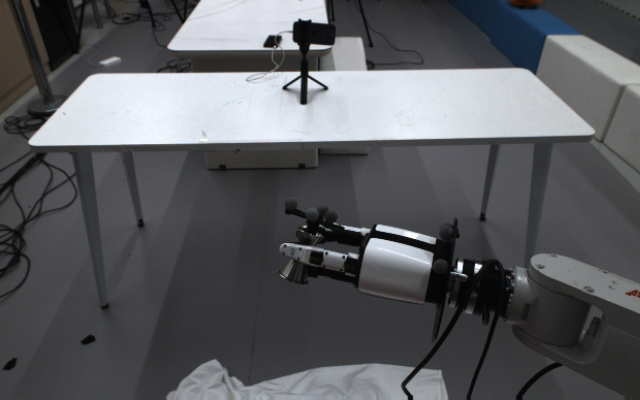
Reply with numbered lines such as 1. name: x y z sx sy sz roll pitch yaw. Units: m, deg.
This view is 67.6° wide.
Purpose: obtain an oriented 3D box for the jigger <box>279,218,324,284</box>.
1. jigger: -0.025 0.073 0.648 0.043 0.071 0.043 22 5 -2
